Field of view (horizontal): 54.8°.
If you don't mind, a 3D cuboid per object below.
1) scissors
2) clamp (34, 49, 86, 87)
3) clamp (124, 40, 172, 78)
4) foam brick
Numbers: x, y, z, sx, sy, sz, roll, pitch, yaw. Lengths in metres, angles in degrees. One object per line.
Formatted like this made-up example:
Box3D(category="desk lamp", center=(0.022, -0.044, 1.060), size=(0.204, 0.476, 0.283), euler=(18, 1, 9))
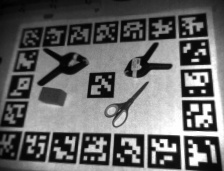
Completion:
Box3D(category="scissors", center=(0.048, 0.063, 0.751), size=(0.087, 0.016, 0.203), euler=(40, 83, 13))
Box3D(category="clamp", center=(-0.201, -0.079, 0.847), size=(0.202, 0.037, 0.165), euler=(-5, 68, 10))
Box3D(category="clamp", center=(0.116, -0.078, 0.779), size=(0.165, 0.037, 0.121), euler=(-28, 75, 3))
Box3D(category="foam brick", center=(-0.226, 0.049, 0.805), size=(0.077, 0.052, 0.052), euler=(5, 75, 20))
